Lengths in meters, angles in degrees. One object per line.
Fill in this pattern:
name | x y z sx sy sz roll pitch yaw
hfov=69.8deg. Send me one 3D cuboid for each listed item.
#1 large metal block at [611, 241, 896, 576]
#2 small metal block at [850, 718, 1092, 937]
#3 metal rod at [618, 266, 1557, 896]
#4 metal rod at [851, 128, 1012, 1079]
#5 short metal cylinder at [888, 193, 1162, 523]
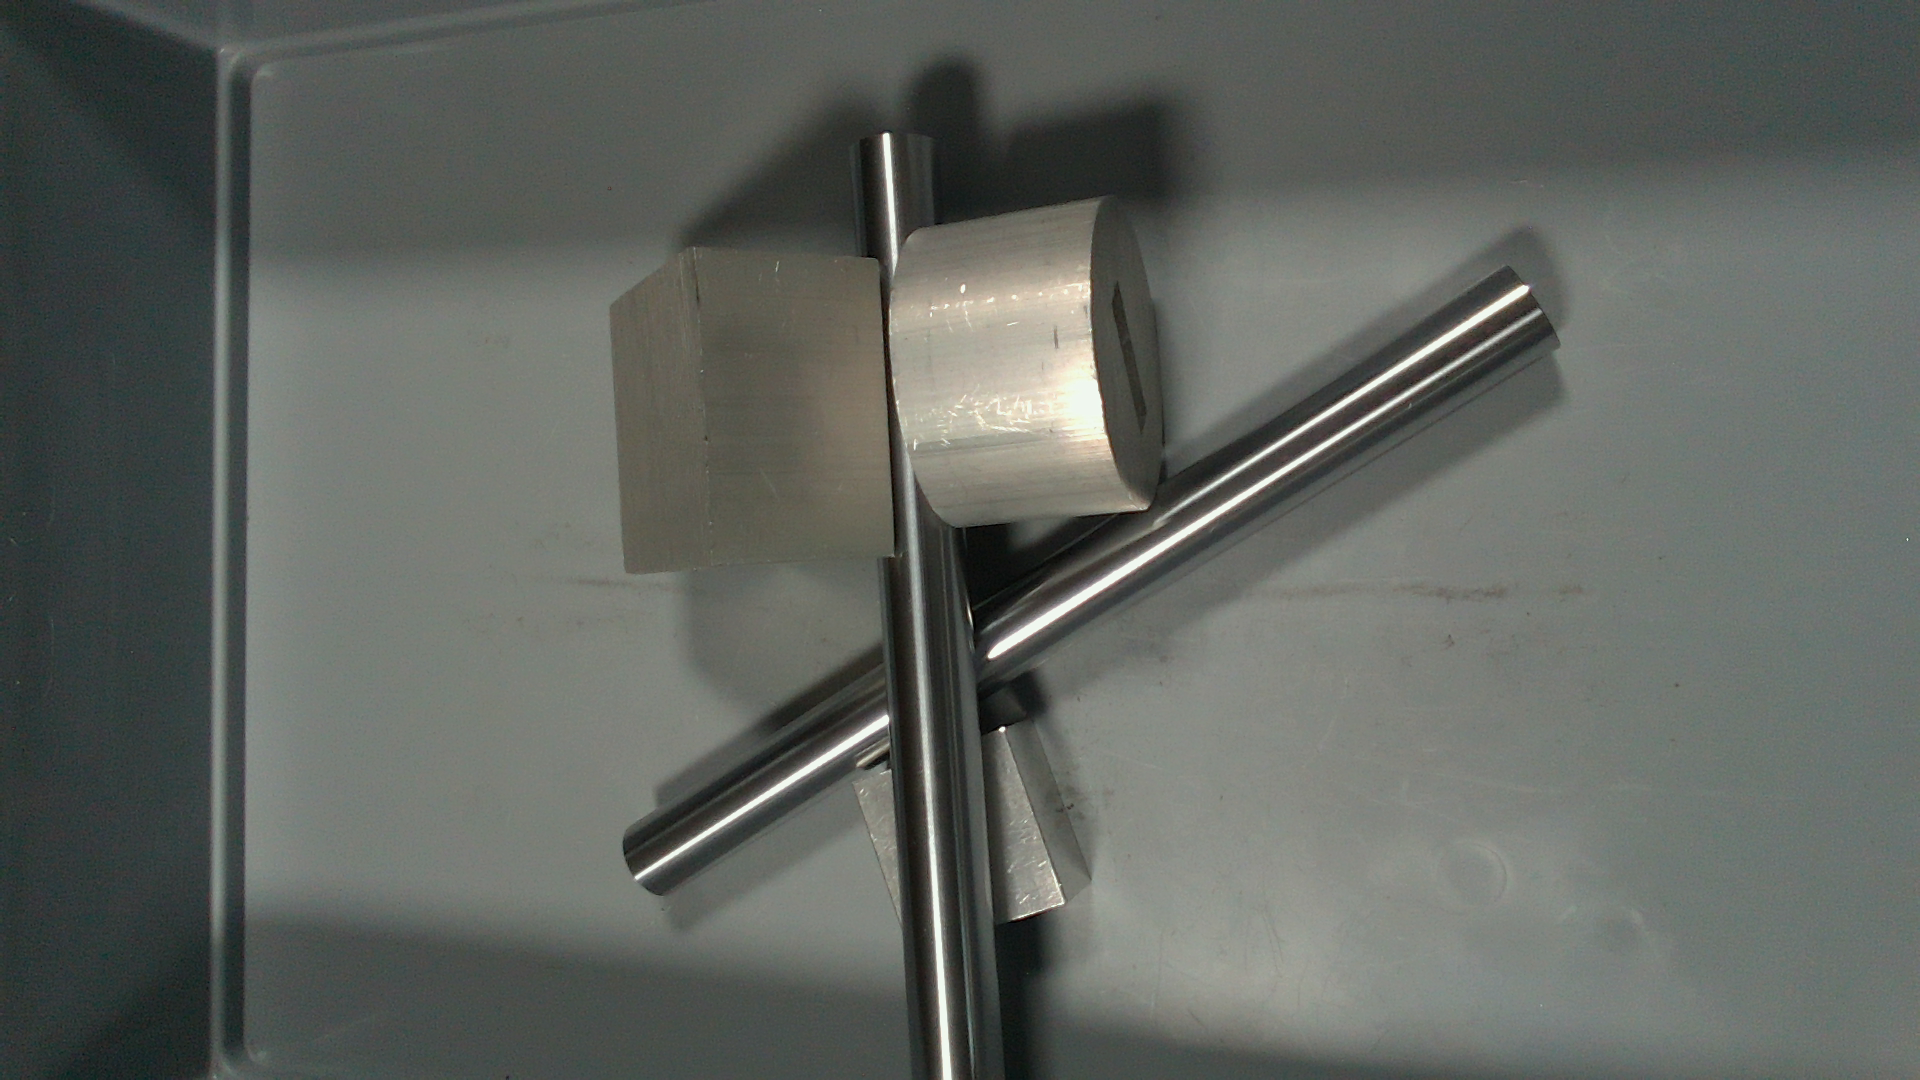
large metal block | -0.060 -0.032 0.383 0.080 0.050 0.080 -6 87 61
small metal block | 0.003 0.084 0.394 0.050 0.025 0.050 -23 83 19
metal rod | 0.022 0.021 0.386 0.299 0.025 0.025 -33 79 17
metal rod | -0.006 0.041 0.369 0.025 0.025 0.300 -5 87 20
short metal cylinder | 0.020 -0.046 0.358 0.050 0.080 0.080 -5 89 19
